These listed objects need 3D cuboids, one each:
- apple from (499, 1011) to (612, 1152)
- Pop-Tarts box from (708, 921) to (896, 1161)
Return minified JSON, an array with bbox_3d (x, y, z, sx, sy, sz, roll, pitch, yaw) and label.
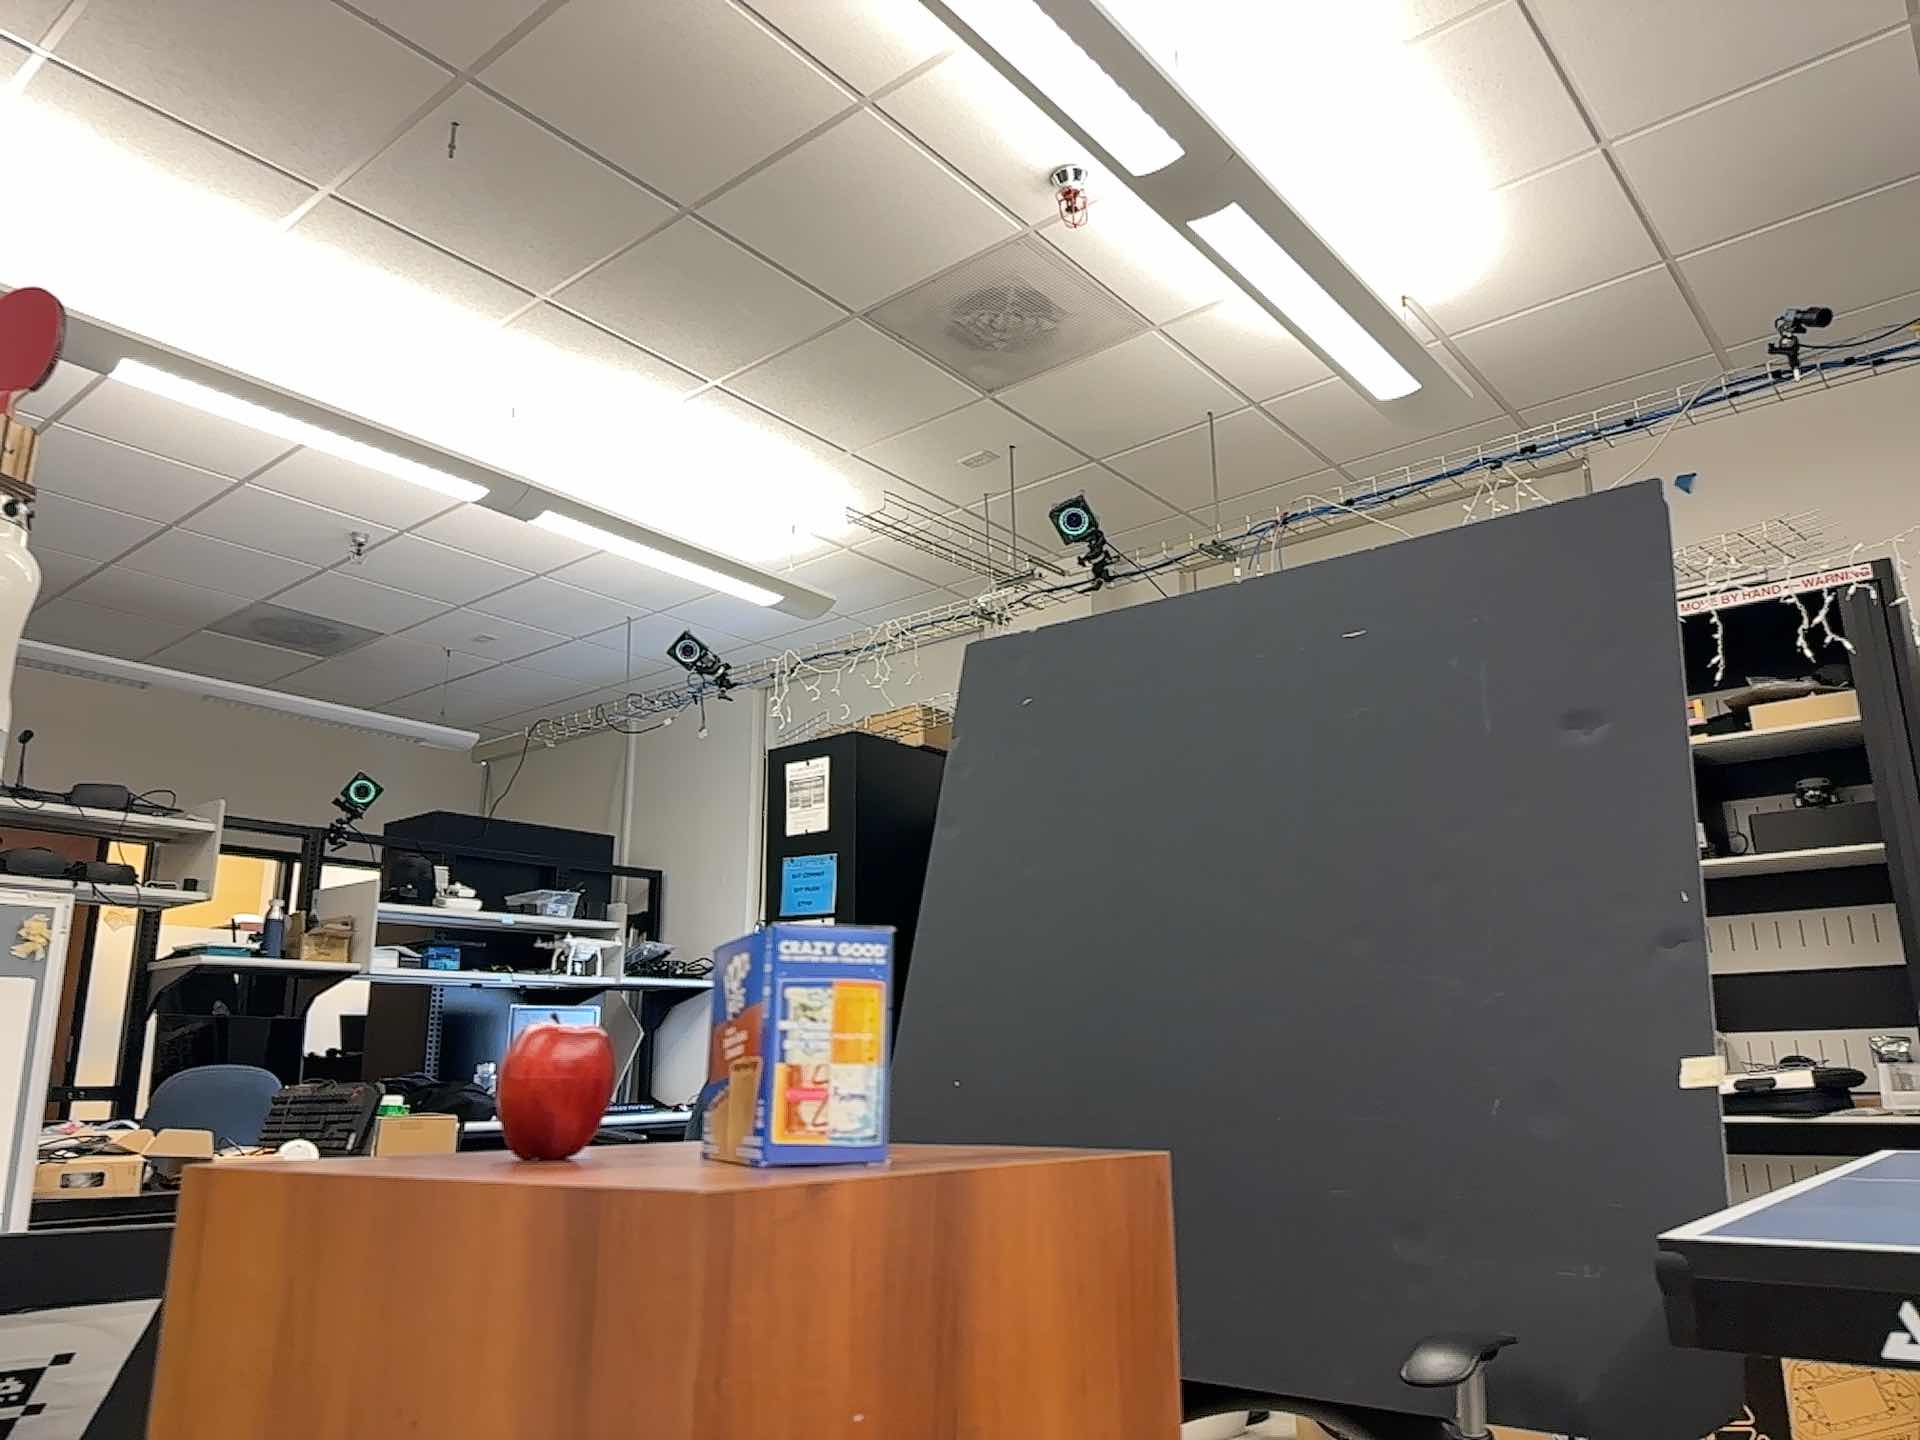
[{"bbox_3d":[-0.282,0.250,0.933,0.079,0.093,0.079,-1,-14,0],"label":"apple"},{"bbox_3d":[-0.107,0.212,0.878,0.075,0.135,0.161,6,-17,-21],"label":"Pop-Tarts box"}]
